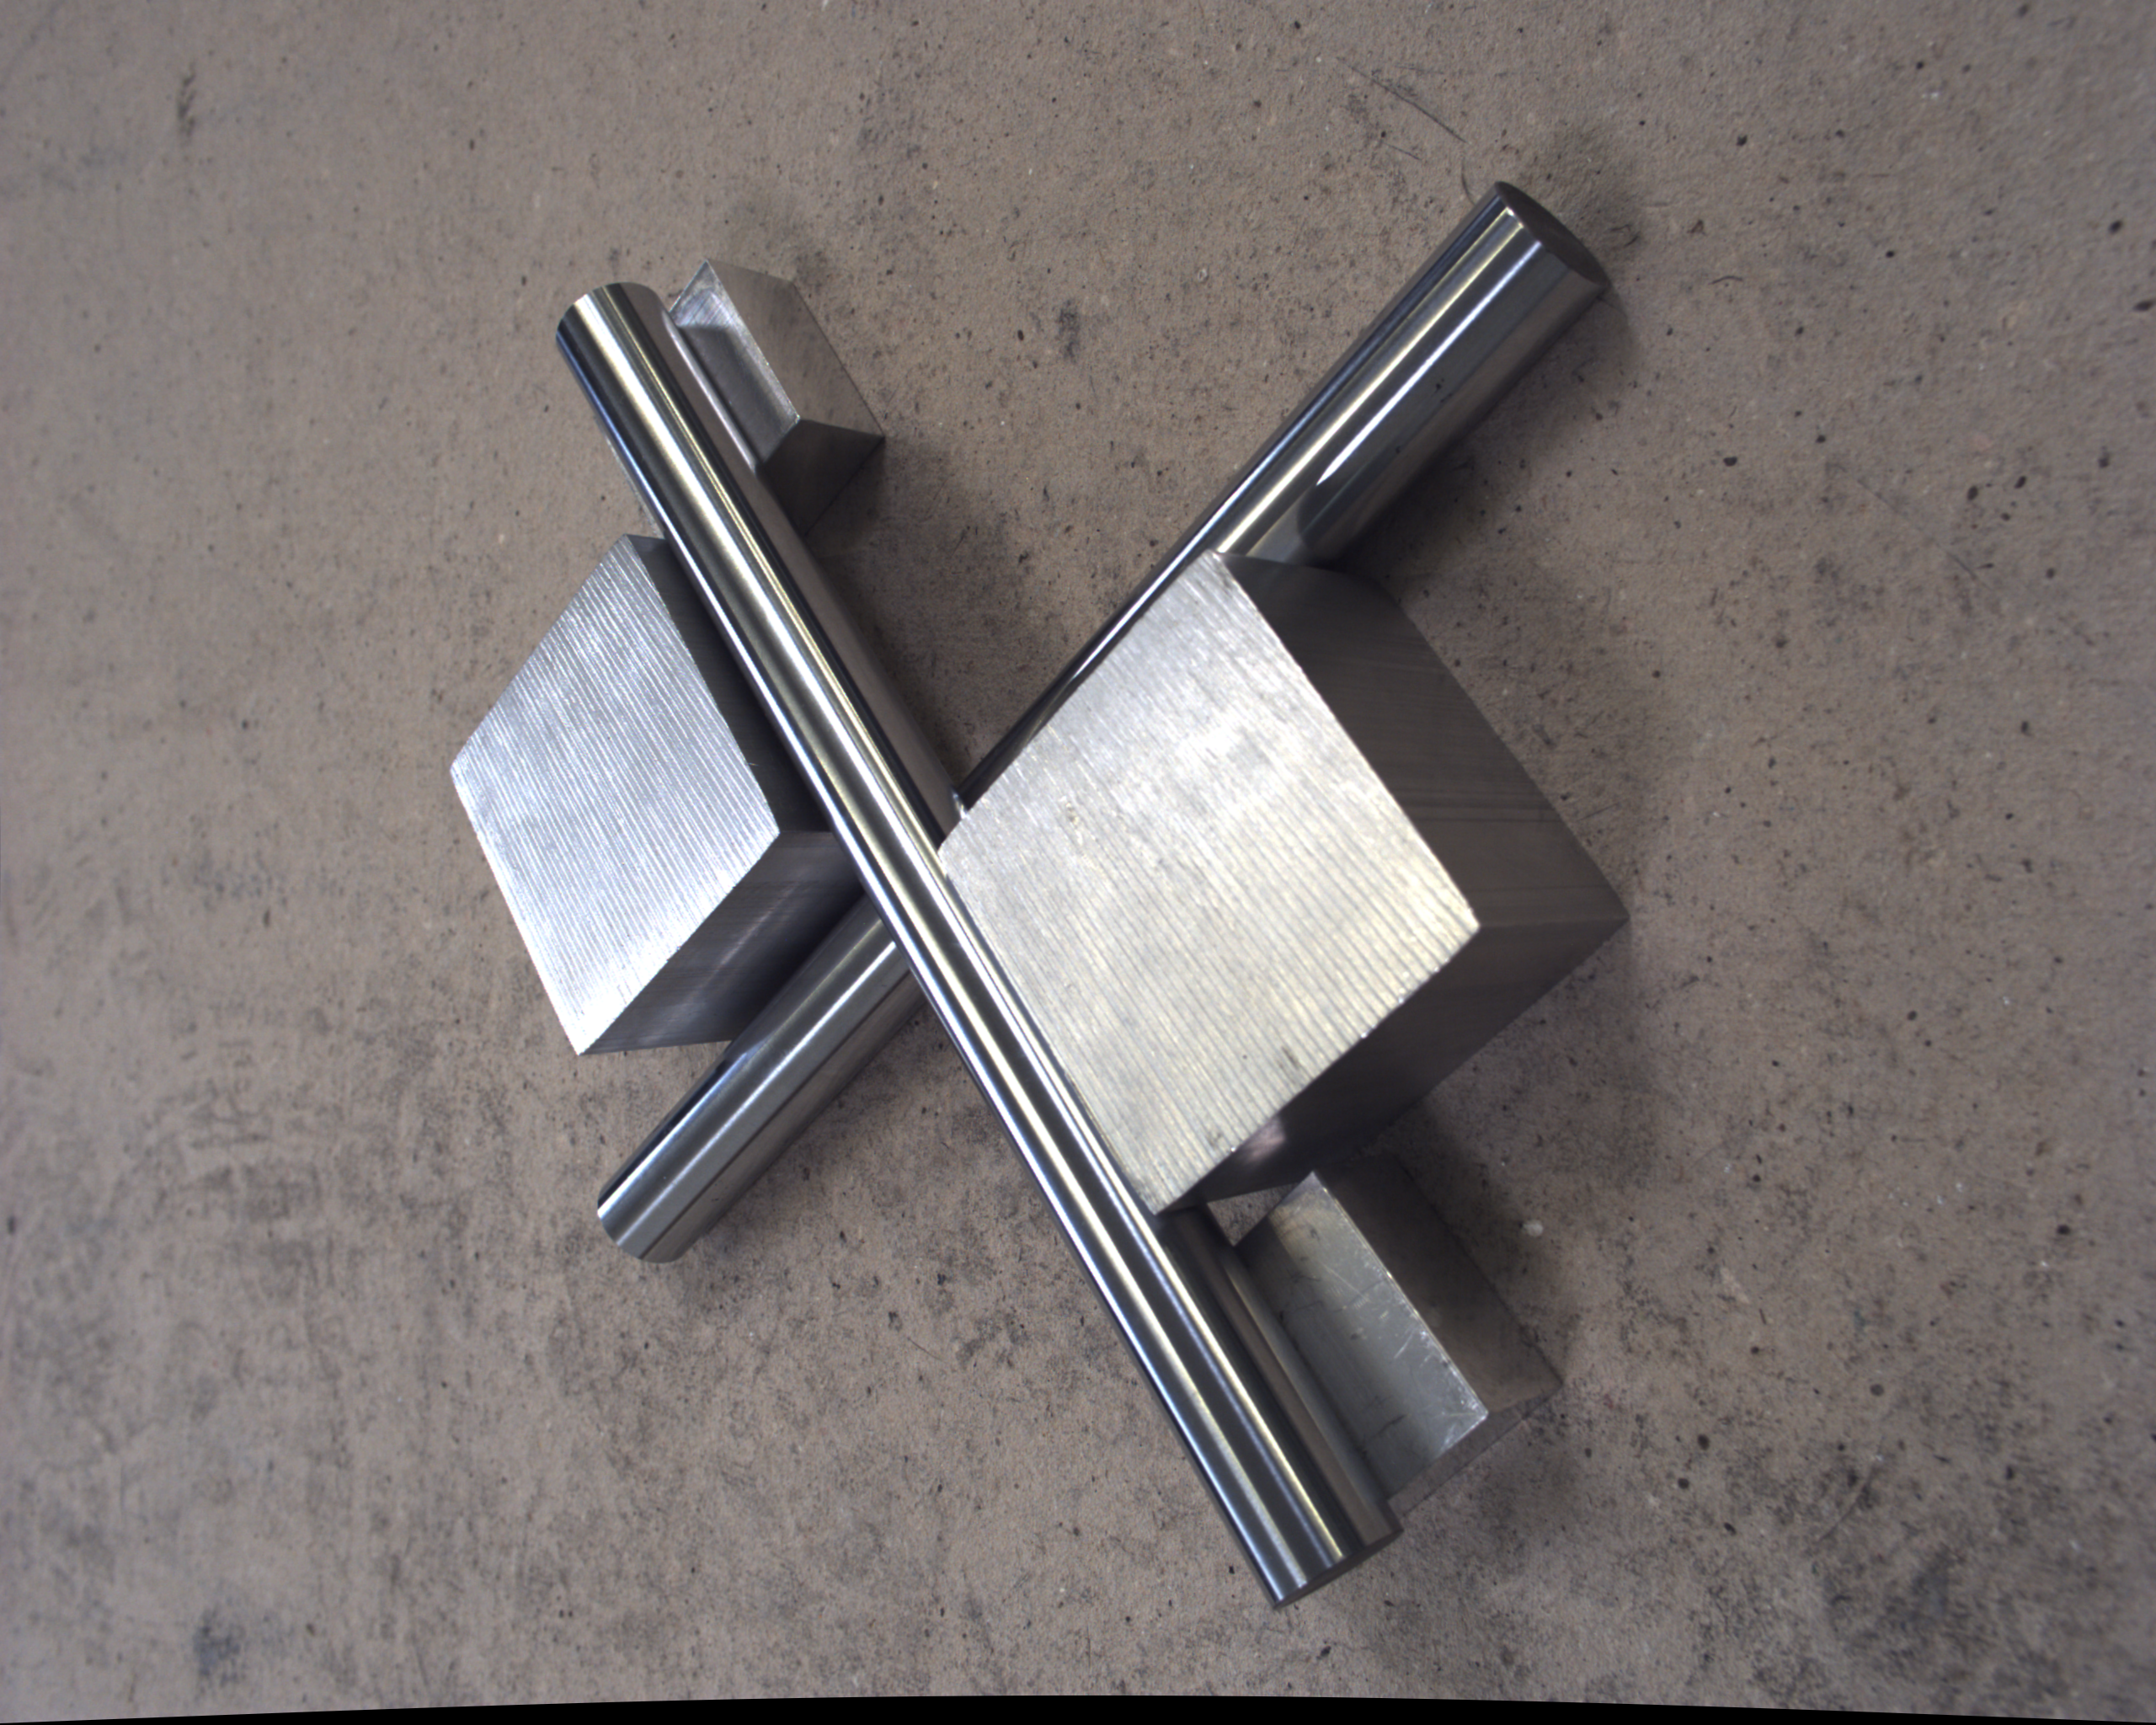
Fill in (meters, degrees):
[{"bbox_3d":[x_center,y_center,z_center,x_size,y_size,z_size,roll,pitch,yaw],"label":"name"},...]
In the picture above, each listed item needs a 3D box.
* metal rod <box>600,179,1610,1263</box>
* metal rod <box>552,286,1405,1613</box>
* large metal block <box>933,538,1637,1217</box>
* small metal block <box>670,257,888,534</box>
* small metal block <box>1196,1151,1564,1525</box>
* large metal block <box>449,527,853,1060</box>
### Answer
[{"bbox_3d":[-0.011,-0.010,0.417,0.299,0.025,0.025,-46,63,30],"label":"metal rod"},{"bbox_3d":[-0.031,-0.001,0.398,0.025,0.025,0.299,-47,62,30],"label":"metal rod"},{"bbox_3d":[0.033,0.003,0.363,0.080,0.050,0.080,-47,62,30],"label":"large metal block"},{"bbox_3d":[-0.077,-0.098,0.471,0.050,0.025,0.050,-45,63,31],"label":"small metal block"},{"bbox_3d":[0.048,0.087,0.368,0.050,0.025,0.050,-50,61,28],"label":"small metal block"},{"bbox_3d":[-0.083,-0.014,0.457,0.080,0.050,0.080,-44,64,31],"label":"large metal block"}]
